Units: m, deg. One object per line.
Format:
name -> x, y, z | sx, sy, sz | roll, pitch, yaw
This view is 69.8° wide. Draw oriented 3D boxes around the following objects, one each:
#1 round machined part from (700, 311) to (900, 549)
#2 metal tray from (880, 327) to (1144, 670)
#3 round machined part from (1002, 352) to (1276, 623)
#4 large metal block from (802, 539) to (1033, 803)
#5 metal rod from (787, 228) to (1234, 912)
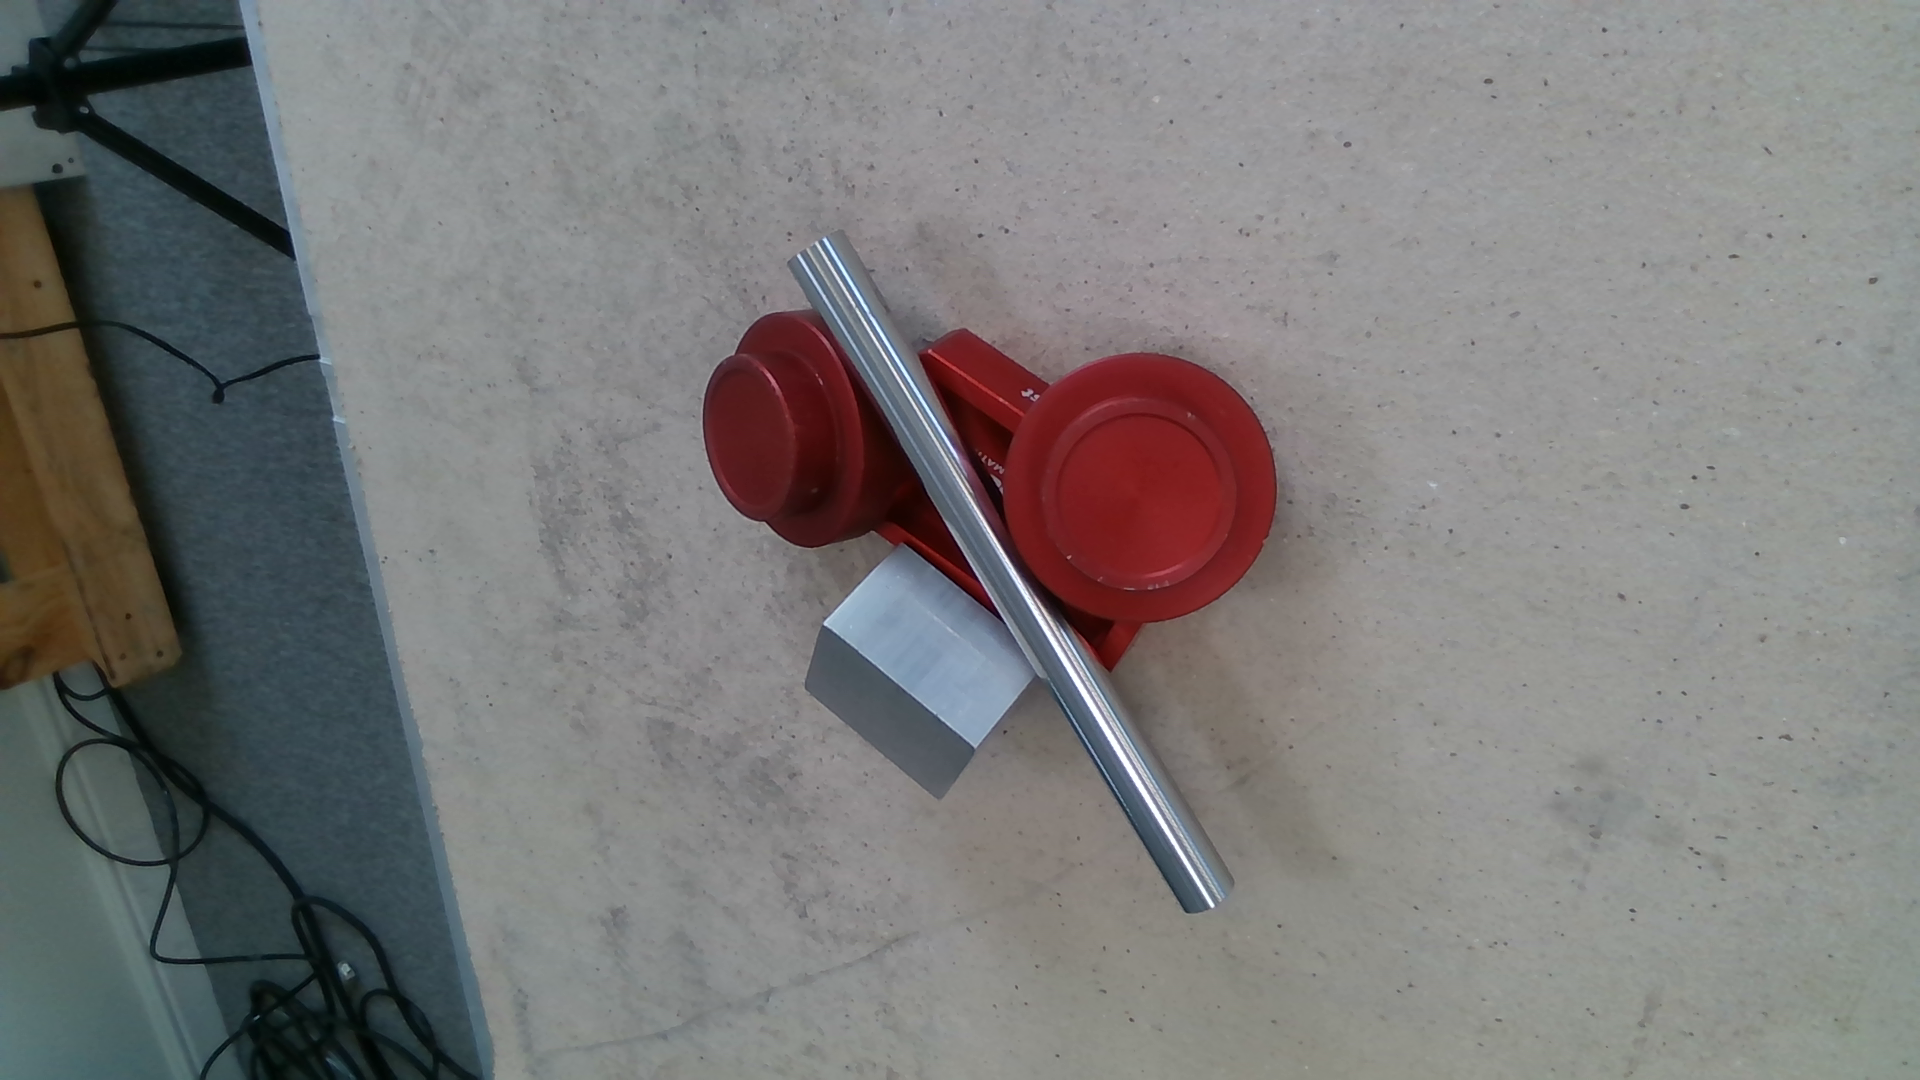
round machined part -> -0.071, -0.044, 0.567 | 0.098, 0.042, 0.098 | 19, 116, 45
metal tray -> 0.027, -0.013, 0.554 | 0.130, 0.030, 0.090 | 35, 128, 10
round machined part -> 0.064, -0.018, 0.494 | 0.098, 0.042, 0.098 | 1, 98, 7
large metal block -> -0.017, 0.058, 0.588 | 0.080, 0.050, 0.080 | 39, 153, 7
metal rod -> 0.023, 0.017, 0.538 | 0.025, 0.025, 0.300 | -25, 101, 38
